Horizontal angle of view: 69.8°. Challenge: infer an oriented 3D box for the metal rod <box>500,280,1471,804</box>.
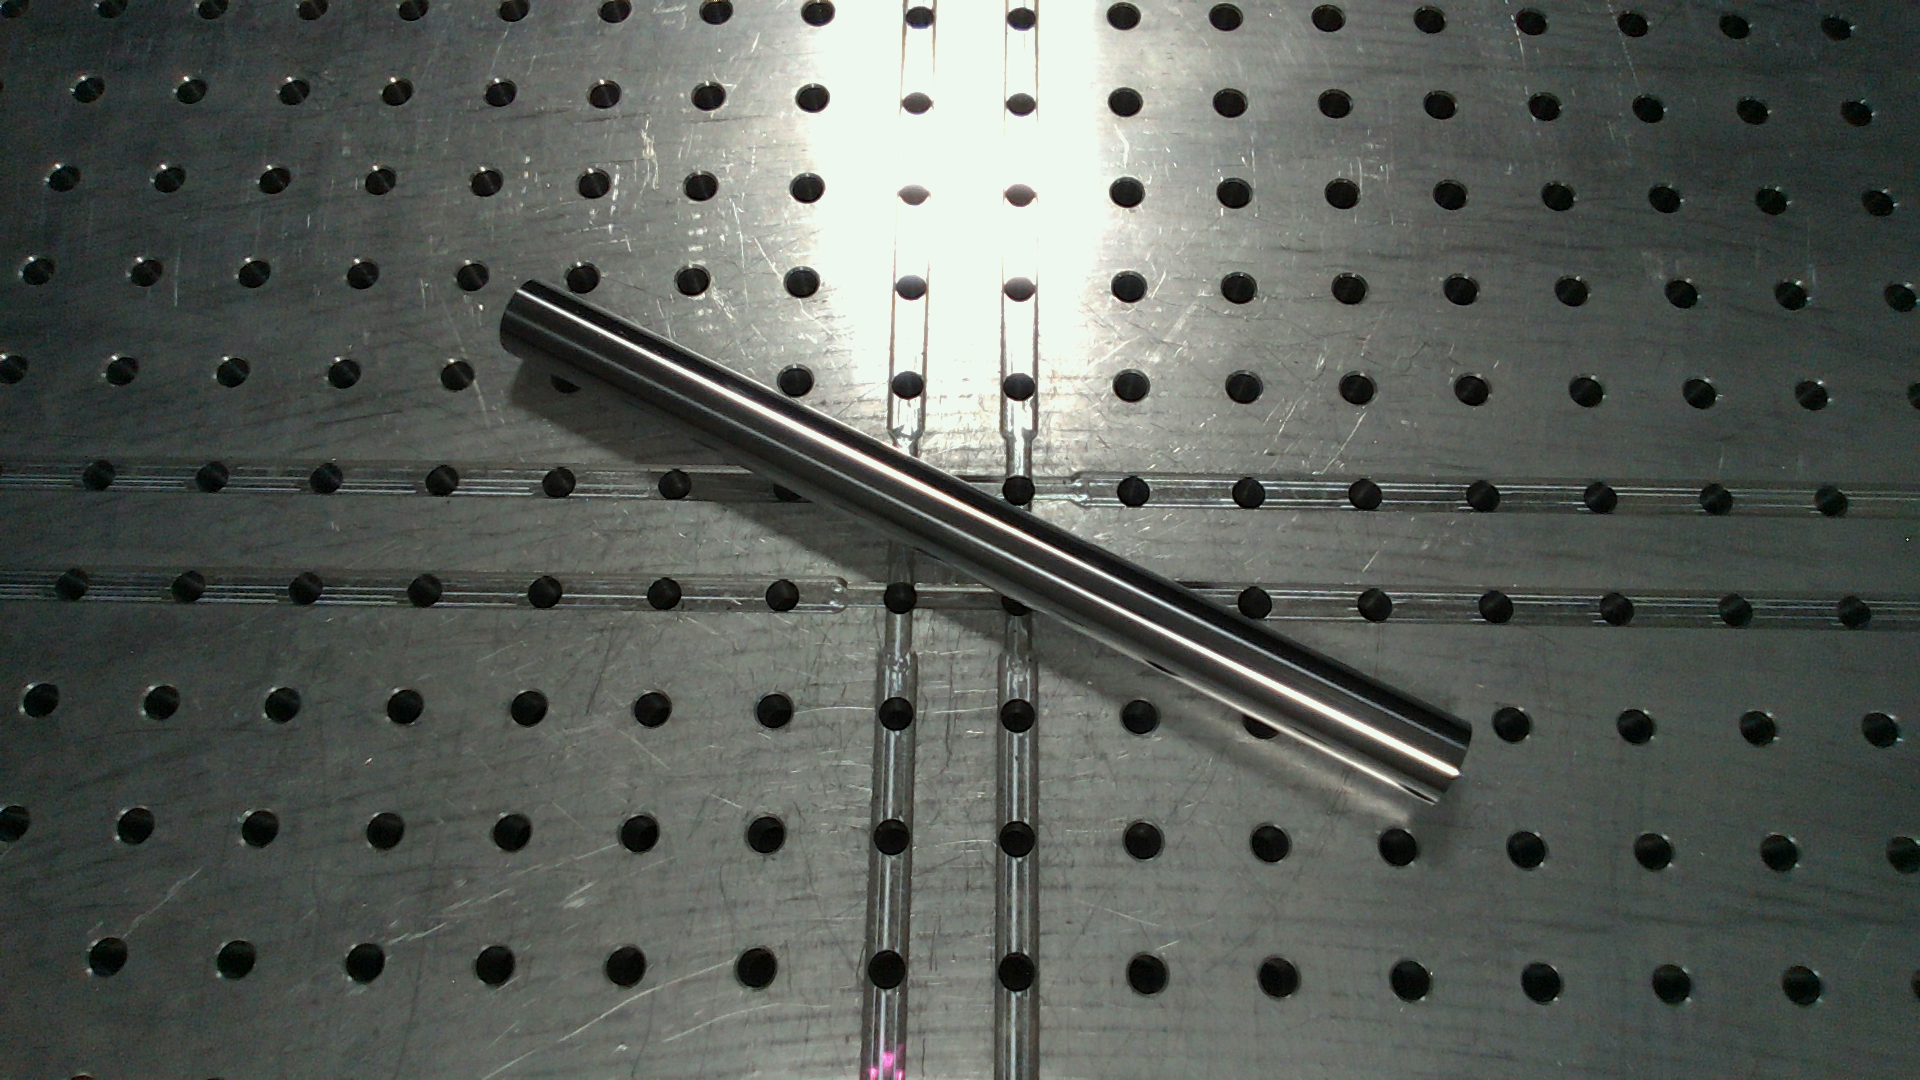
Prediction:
[{"bbox_3d":[0.000,-0.004,0.399,0.300,0.025,0.025,26,72,9],"label":"metal rod"}]
